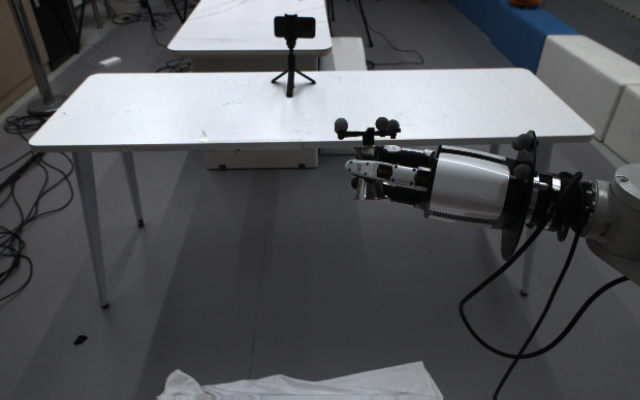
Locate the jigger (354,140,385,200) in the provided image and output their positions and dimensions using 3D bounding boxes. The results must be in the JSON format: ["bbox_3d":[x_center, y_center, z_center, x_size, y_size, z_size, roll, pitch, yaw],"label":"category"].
[{"bbox_3d":[0.063,-0.035,0.627,0.043,0.071,0.043,-2,3,0],"label":"jigger"}]
